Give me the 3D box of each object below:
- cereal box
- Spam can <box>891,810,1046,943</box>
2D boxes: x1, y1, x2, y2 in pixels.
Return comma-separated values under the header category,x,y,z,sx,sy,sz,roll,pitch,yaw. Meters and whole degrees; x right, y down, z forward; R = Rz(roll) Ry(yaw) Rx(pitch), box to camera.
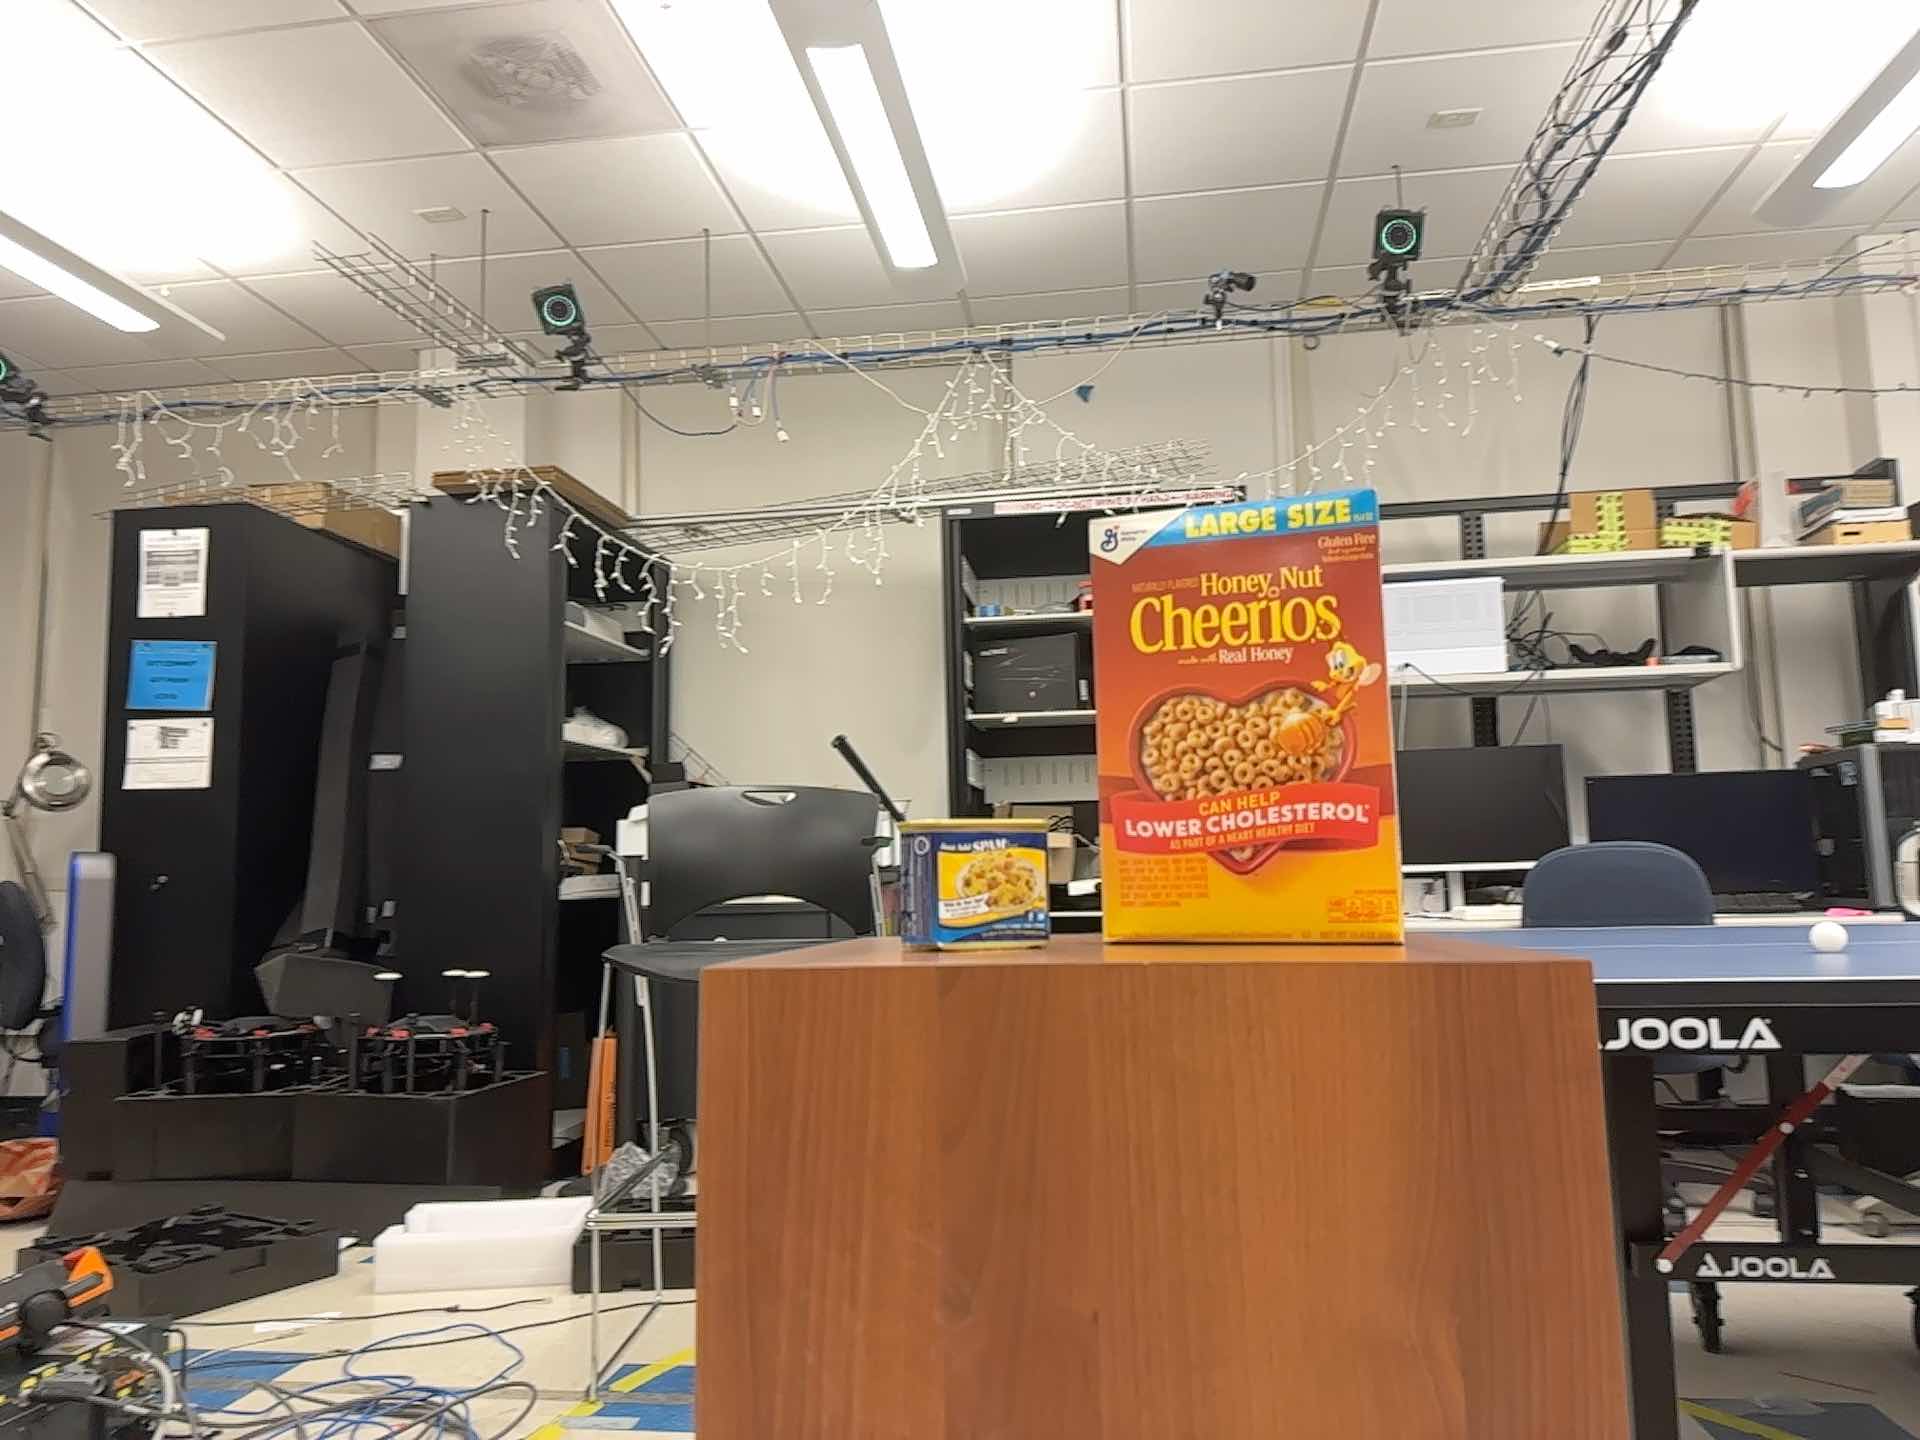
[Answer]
category,x,y,z,sx,sy,sz,roll,pitch,yaw
cereal box,0.198,0.000,0.960,0.195,0.297,0.065,-3,-10,16
Spam can,0.006,0.106,0.901,0.100,0.083,0.056,4,-11,-30
